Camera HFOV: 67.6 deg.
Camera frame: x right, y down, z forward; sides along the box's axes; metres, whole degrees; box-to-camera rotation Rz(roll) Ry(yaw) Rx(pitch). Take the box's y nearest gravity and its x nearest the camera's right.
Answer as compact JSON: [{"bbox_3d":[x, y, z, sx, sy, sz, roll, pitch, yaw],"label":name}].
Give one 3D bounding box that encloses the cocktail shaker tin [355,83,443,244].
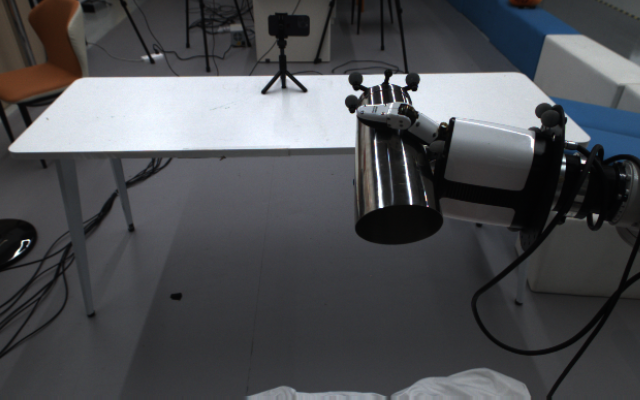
[{"bbox_3d":[0.080,-0.046,0.544,0.093,0.093,0.170,0,59,-3],"label":"cocktail shaker tin"}]
